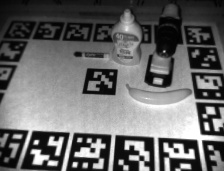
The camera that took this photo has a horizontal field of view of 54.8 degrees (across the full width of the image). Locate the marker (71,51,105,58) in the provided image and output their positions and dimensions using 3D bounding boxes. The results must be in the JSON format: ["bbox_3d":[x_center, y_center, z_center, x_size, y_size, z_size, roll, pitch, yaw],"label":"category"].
[{"bbox_3d":[-0.086,-0.111,0.764,0.121,0.020,0.019,4,59,4],"label":"marker"}]

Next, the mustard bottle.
[{"bbox_3d":[0.035,-0.145,0.679,0.096,0.192,0.058,11,59,9],"label":"mustard bottle"}]

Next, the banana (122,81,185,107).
[{"bbox_3d":[0.123,0.029,0.662,0.196,0.039,0.074,8,60,9],"label":"banana"}]

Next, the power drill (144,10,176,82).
[{"bbox_3d":[0.134,-0.095,0.626,0.057,0.188,0.184,14,57,10],"label":"power drill"}]
